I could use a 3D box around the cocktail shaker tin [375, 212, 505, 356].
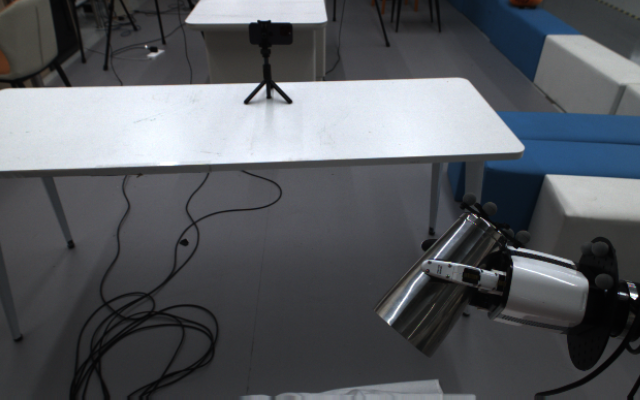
[{"bbox_3d":[0.156,0.097,0.608,0.170,0.093,0.093,-48,49,-3],"label":"cocktail shaker tin"}]
